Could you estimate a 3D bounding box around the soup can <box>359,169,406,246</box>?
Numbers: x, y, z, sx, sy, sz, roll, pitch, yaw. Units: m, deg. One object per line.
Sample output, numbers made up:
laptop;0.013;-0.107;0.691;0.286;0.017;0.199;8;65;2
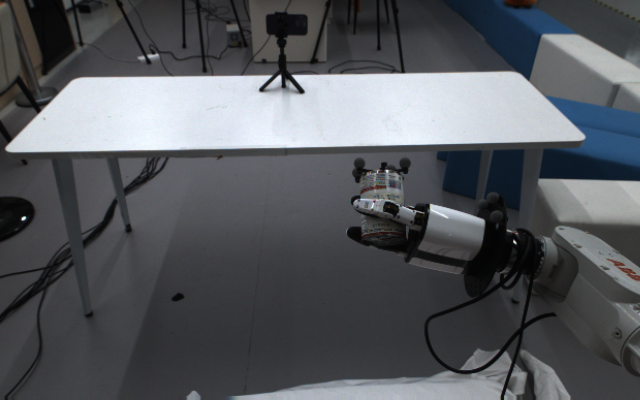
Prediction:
soup can;0.095;0.013;0.728;0.067;0.067;0.101;1;73;-2
